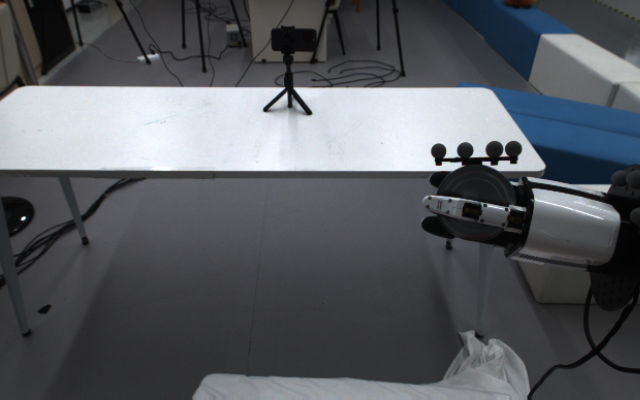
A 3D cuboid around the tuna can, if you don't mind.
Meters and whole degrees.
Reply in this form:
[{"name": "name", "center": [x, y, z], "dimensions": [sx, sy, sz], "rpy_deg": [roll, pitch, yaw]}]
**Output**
[{"name": "tuna can", "center": [0.177, 0.000, 0.552], "dimensions": [0.085, 0.085, 0.034], "rpy_deg": [15, 10, 18]}]
